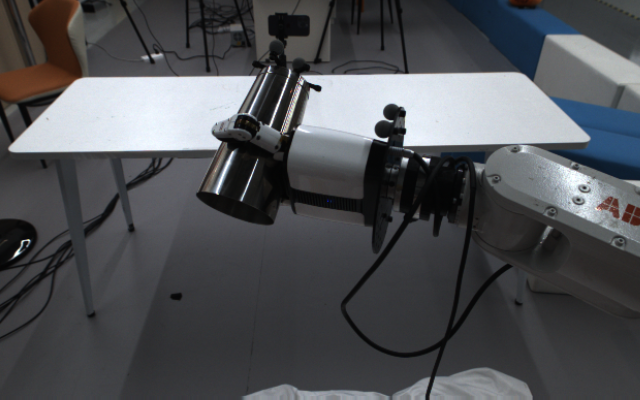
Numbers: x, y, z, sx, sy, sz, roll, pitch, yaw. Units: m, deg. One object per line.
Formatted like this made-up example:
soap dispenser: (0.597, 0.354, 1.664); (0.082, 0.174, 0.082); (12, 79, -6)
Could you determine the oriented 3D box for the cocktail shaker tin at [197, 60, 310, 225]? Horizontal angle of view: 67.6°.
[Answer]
cocktail shaker tin: (-0.069, -0.065, 0.562); (0.093, 0.093, 0.170); (14, 73, 17)
